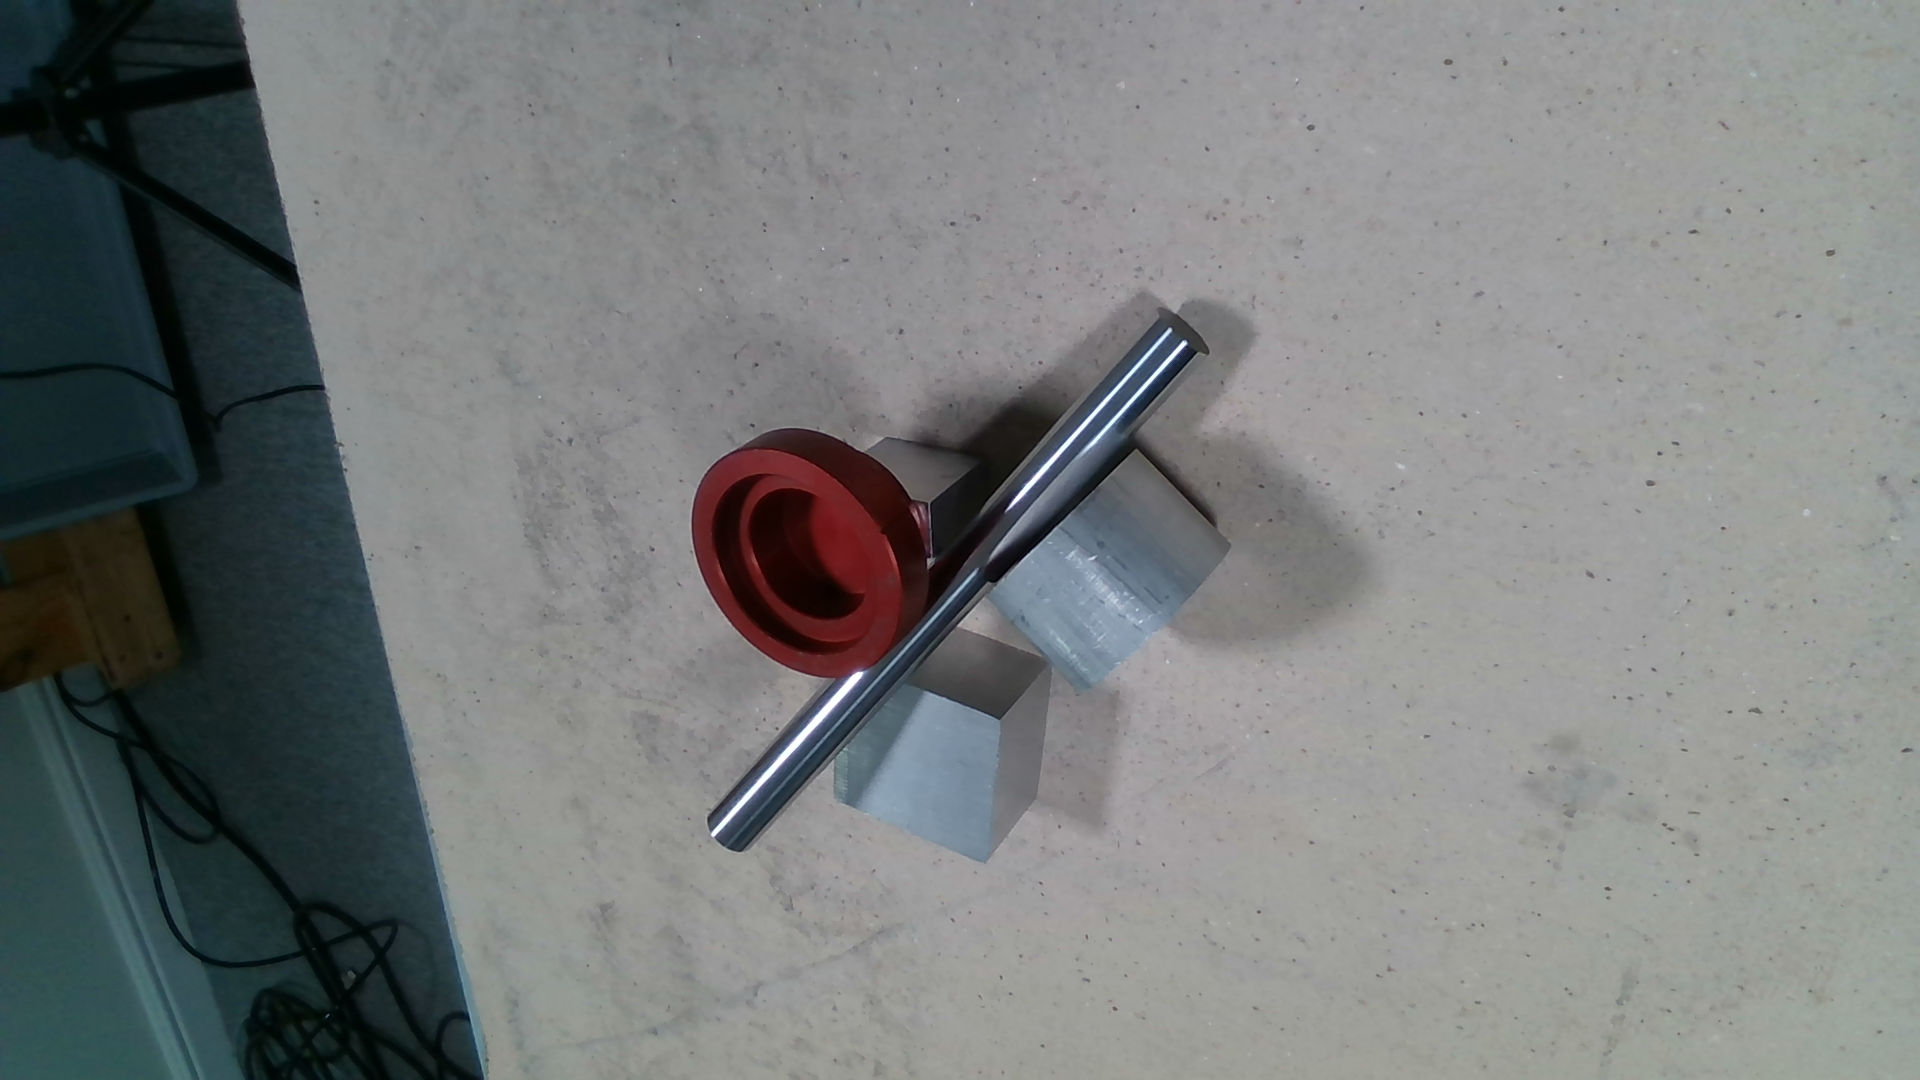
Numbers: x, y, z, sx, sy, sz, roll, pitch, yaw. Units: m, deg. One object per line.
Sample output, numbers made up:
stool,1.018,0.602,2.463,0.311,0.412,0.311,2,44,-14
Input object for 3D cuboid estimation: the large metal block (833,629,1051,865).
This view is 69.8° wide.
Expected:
large metal block,-0.009,0.086,0.617,0.080,0.050,0.080,18,123,22

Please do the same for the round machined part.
round machined part,-0.054,0.001,0.539,0.098,0.042,0.098,15,122,26

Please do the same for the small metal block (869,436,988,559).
small metal block,-0.022,-0.018,0.568,0.050,0.050,0.025,12,121,26

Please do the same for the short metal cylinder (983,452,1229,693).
short metal cylinder,0.055,0.012,0.517,0.050,0.080,0.080,45,129,2

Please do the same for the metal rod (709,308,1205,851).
metal rod,-0.012,0.027,0.554,0.025,0.025,0.301,43,115,4
